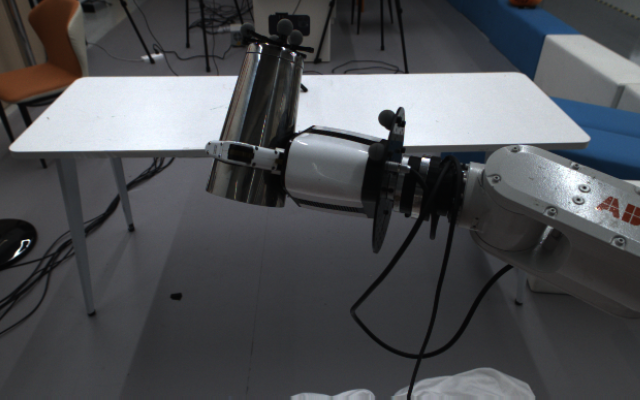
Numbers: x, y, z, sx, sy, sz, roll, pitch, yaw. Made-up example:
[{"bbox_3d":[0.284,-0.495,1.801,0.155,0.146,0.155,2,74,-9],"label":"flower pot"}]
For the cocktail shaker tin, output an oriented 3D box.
[{"bbox_3d":[-0.068,-0.084,0.554,0.093,0.170,0.093,13,4,-1],"label":"cocktail shaker tin"}]
